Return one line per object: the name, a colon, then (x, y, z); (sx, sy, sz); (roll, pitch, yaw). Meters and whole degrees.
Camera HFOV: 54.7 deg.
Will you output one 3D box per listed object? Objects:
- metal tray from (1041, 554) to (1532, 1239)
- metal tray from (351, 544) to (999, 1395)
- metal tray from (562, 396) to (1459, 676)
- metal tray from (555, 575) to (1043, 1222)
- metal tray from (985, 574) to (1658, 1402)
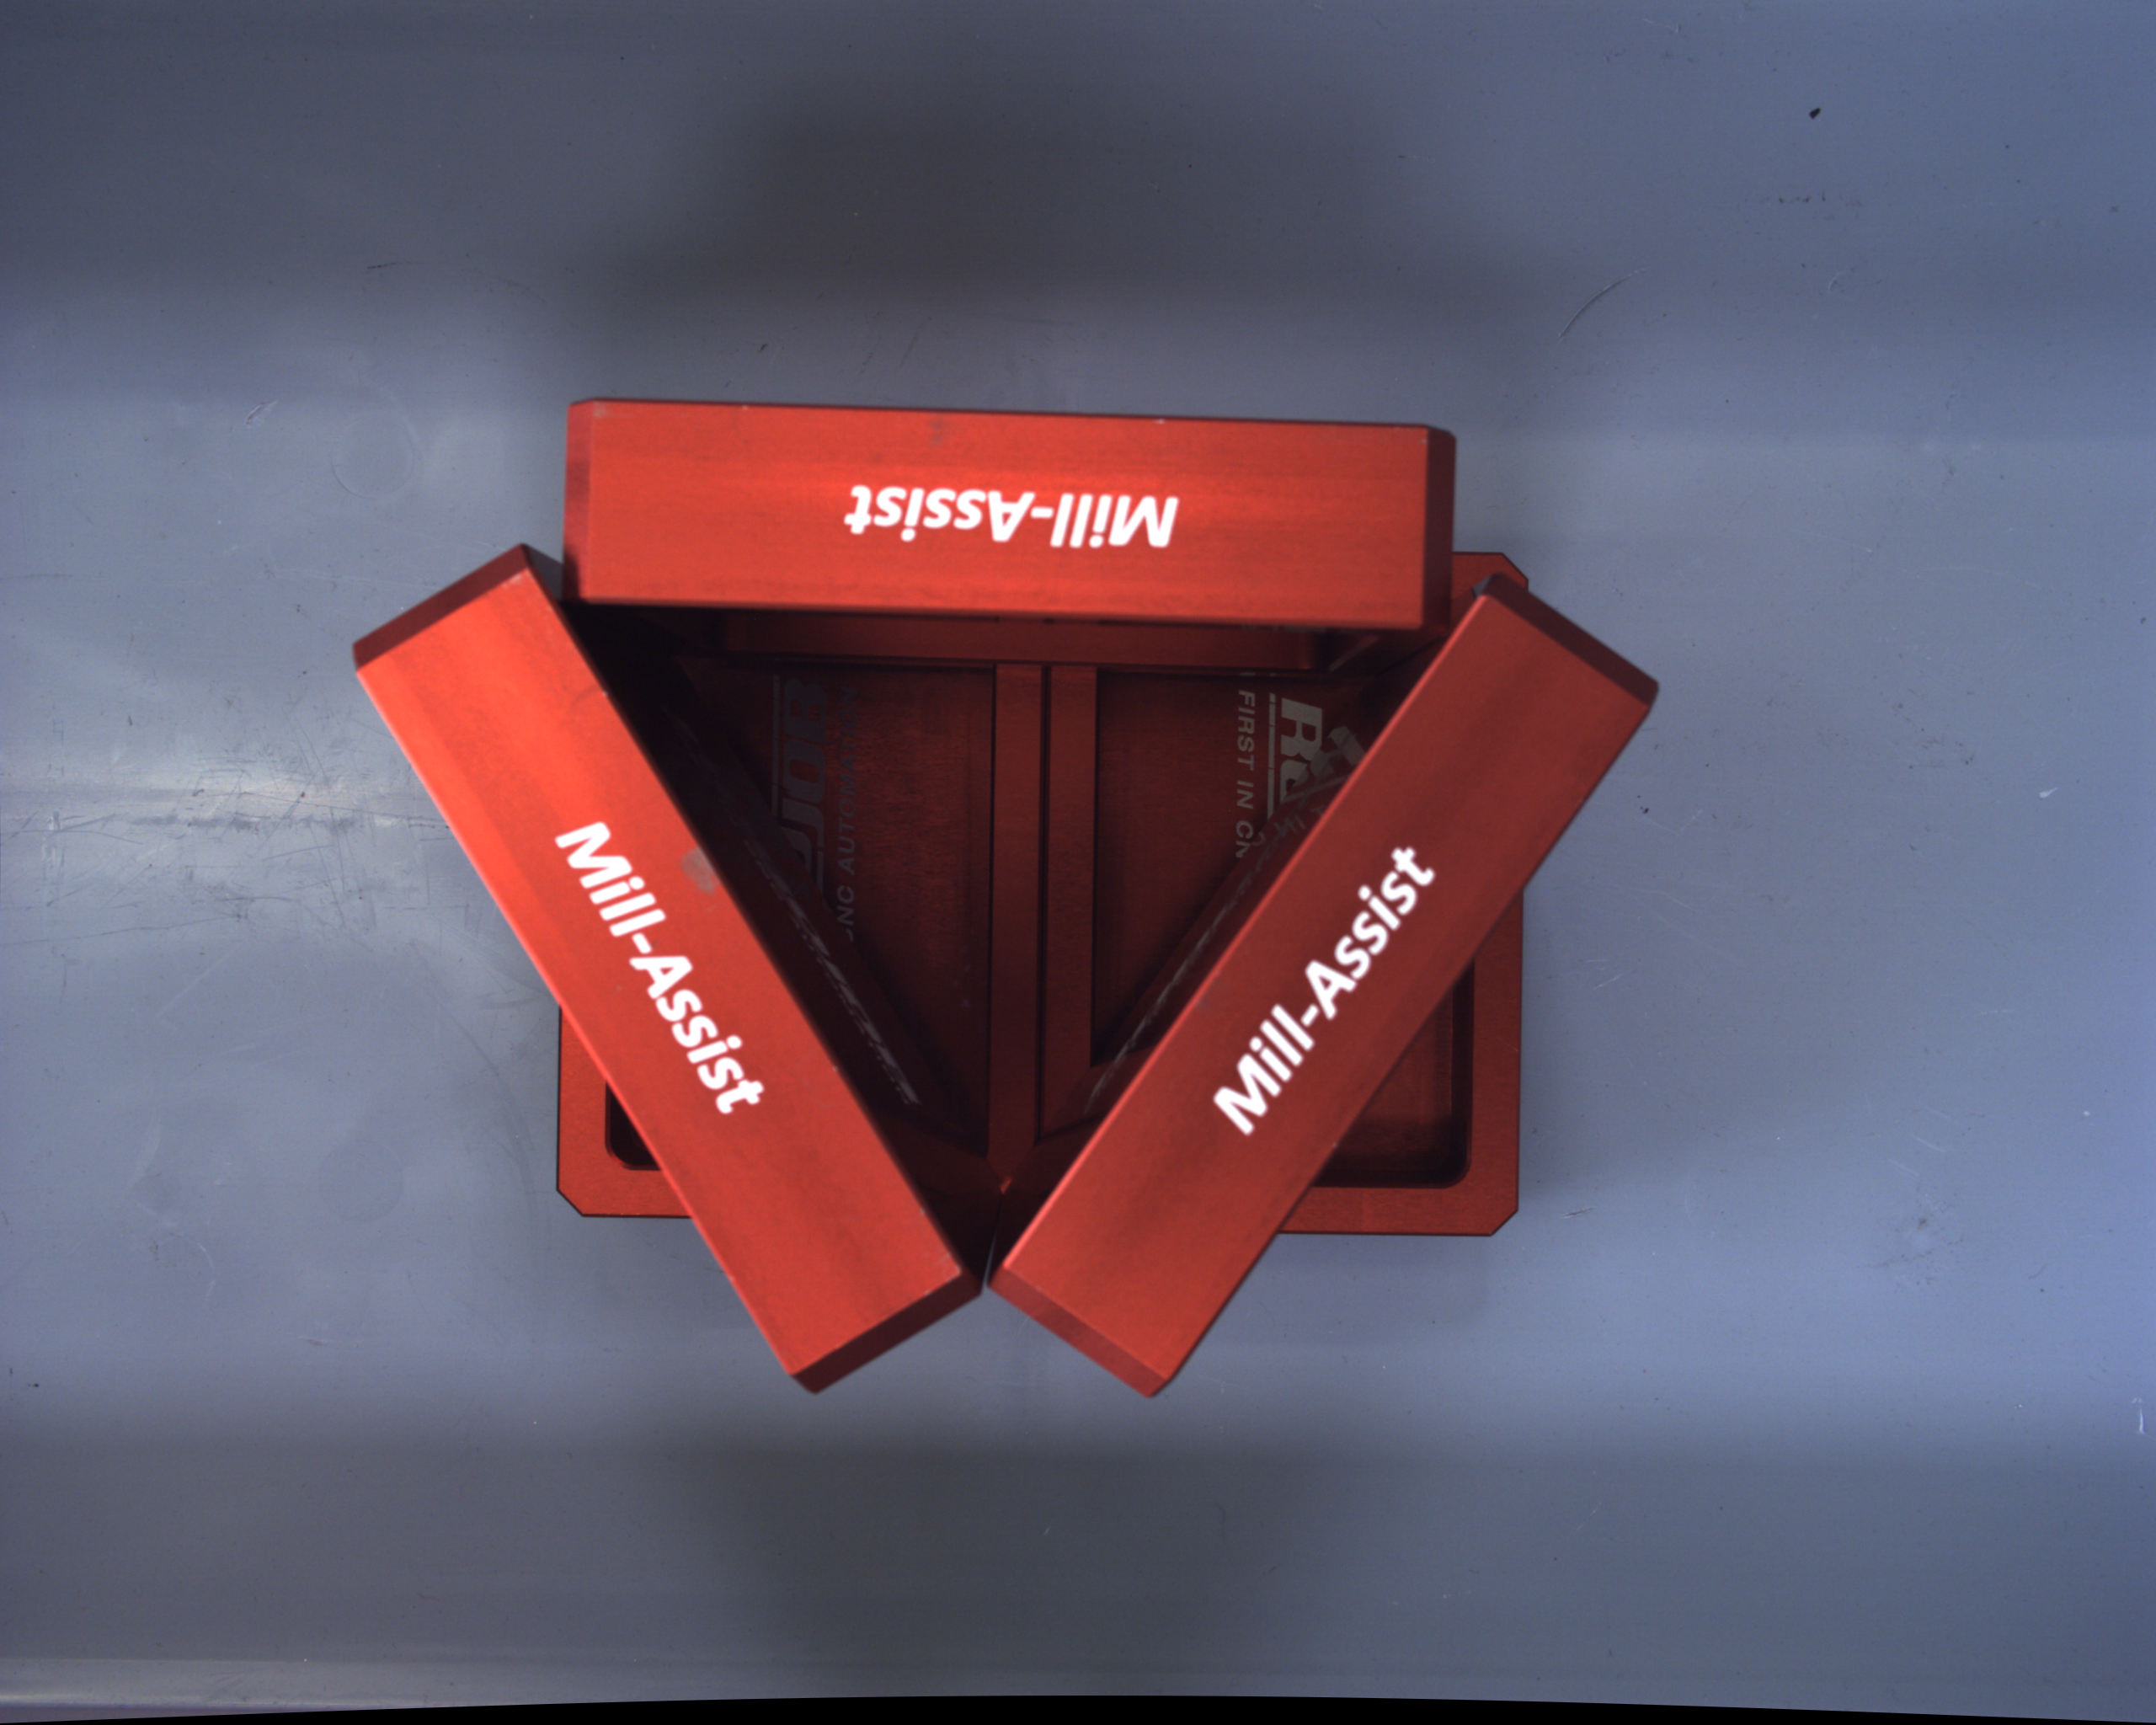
metal tray: (0.039, 0.005, 0.408); (0.091, 0.030, 0.129); (1, 89, 0)
metal tray: (-0.060, 0.015, 0.346); (0.030, 0.090, 0.130); (-31, 90, 1)
metal tray: (-0.010, -0.051, 0.346); (0.131, 0.090, 0.030); (2, 91, 0)
metal tray: (-0.053, 0.003, 0.408); (0.091, 0.030, 0.129); (0, 89, 0)
metal tray: (0.036, 0.018, 0.346); (0.030, 0.090, 0.130); (35, 90, 0)
